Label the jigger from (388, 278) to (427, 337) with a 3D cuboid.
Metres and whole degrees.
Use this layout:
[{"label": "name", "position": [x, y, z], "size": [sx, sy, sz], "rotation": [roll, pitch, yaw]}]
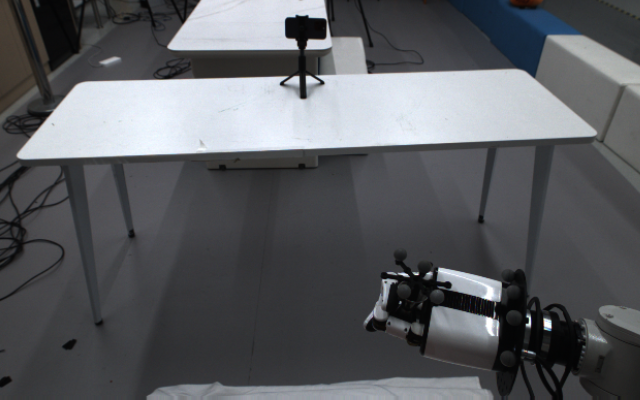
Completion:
[{"label": "jigger", "position": [0.116, 0.144, 0.638], "size": [0.043, 0.071, 0.043], "rotation": [7, 32, -4]}]
